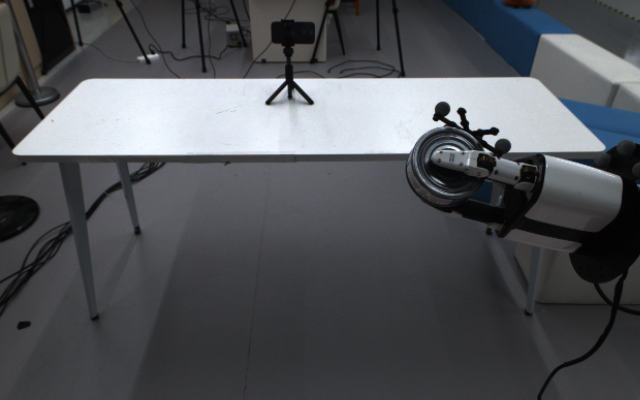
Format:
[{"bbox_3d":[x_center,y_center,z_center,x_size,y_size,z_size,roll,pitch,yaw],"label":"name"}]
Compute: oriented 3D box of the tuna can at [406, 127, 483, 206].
[{"bbox_3d":[0.144,-0.040,0.542,0.085,0.034,0.085,0,74,-1],"label":"tuna can"}]
